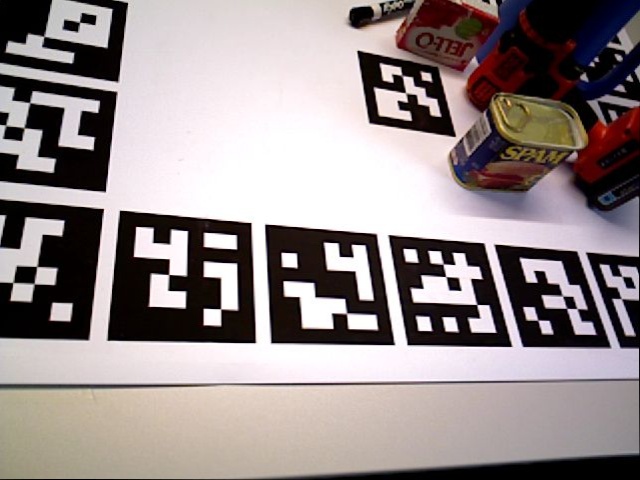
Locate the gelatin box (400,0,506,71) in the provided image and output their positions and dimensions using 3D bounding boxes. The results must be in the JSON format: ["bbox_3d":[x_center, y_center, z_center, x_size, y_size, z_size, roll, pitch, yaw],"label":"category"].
[{"bbox_3d":[0.144,-0.233,0.597,0.088,0.075,0.030,16,62,-15],"label":"gelatin box"}]

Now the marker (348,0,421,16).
[{"bbox_3d":[0.081,-0.275,0.623,0.118,0.020,0.019,-22,74,-28],"label":"marker"}]

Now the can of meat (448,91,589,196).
[{"bbox_3d":[0.188,-0.090,0.528,0.100,0.086,0.057,4,60,-20],"label":"can of meat"}]

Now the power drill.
[{"bbox_3d":[0.261,-0.162,0.538,0.187,0.188,0.056,39,58,-6],"label":"power drill"}]

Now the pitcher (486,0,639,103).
[{"bbox_3d":[0.305,-0.260,0.579,0.188,0.248,0.130,30,59,4],"label":"pitcher"}]
